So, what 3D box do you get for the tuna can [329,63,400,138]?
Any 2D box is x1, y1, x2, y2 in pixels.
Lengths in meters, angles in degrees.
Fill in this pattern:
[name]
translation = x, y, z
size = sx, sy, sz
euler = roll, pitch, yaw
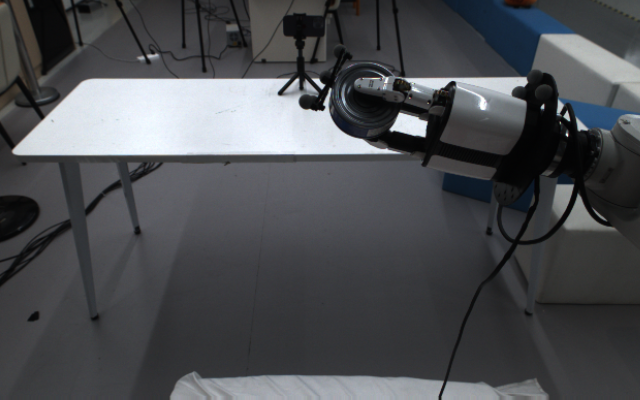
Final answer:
[tuna can]
translation = 0.057, -0.120, 0.579
size = 0.085, 0.034, 0.085
euler = 1, 75, -5
